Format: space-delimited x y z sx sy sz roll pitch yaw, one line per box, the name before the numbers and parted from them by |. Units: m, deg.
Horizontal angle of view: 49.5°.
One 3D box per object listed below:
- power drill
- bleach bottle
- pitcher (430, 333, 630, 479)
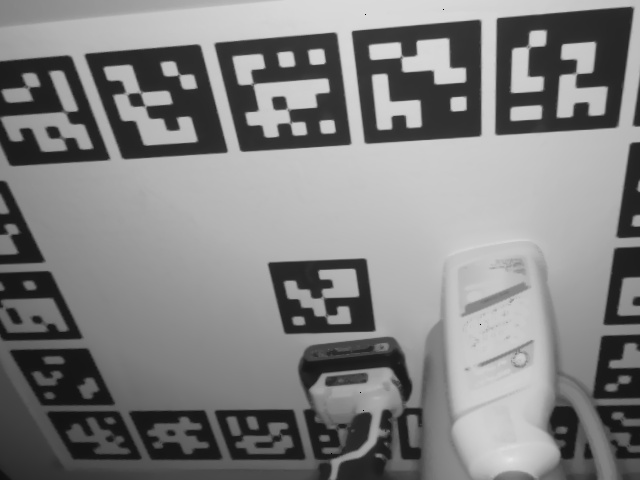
power drill | 0.010 0.209 0.679 0.183 0.189 0.057 -5 120 16
bleach bottle | 0.166 0.115 0.566 0.102 0.253 0.067 -10 122 12
pitcher | 0.172 0.188 0.639 0.186 0.245 0.133 -28 115 22
